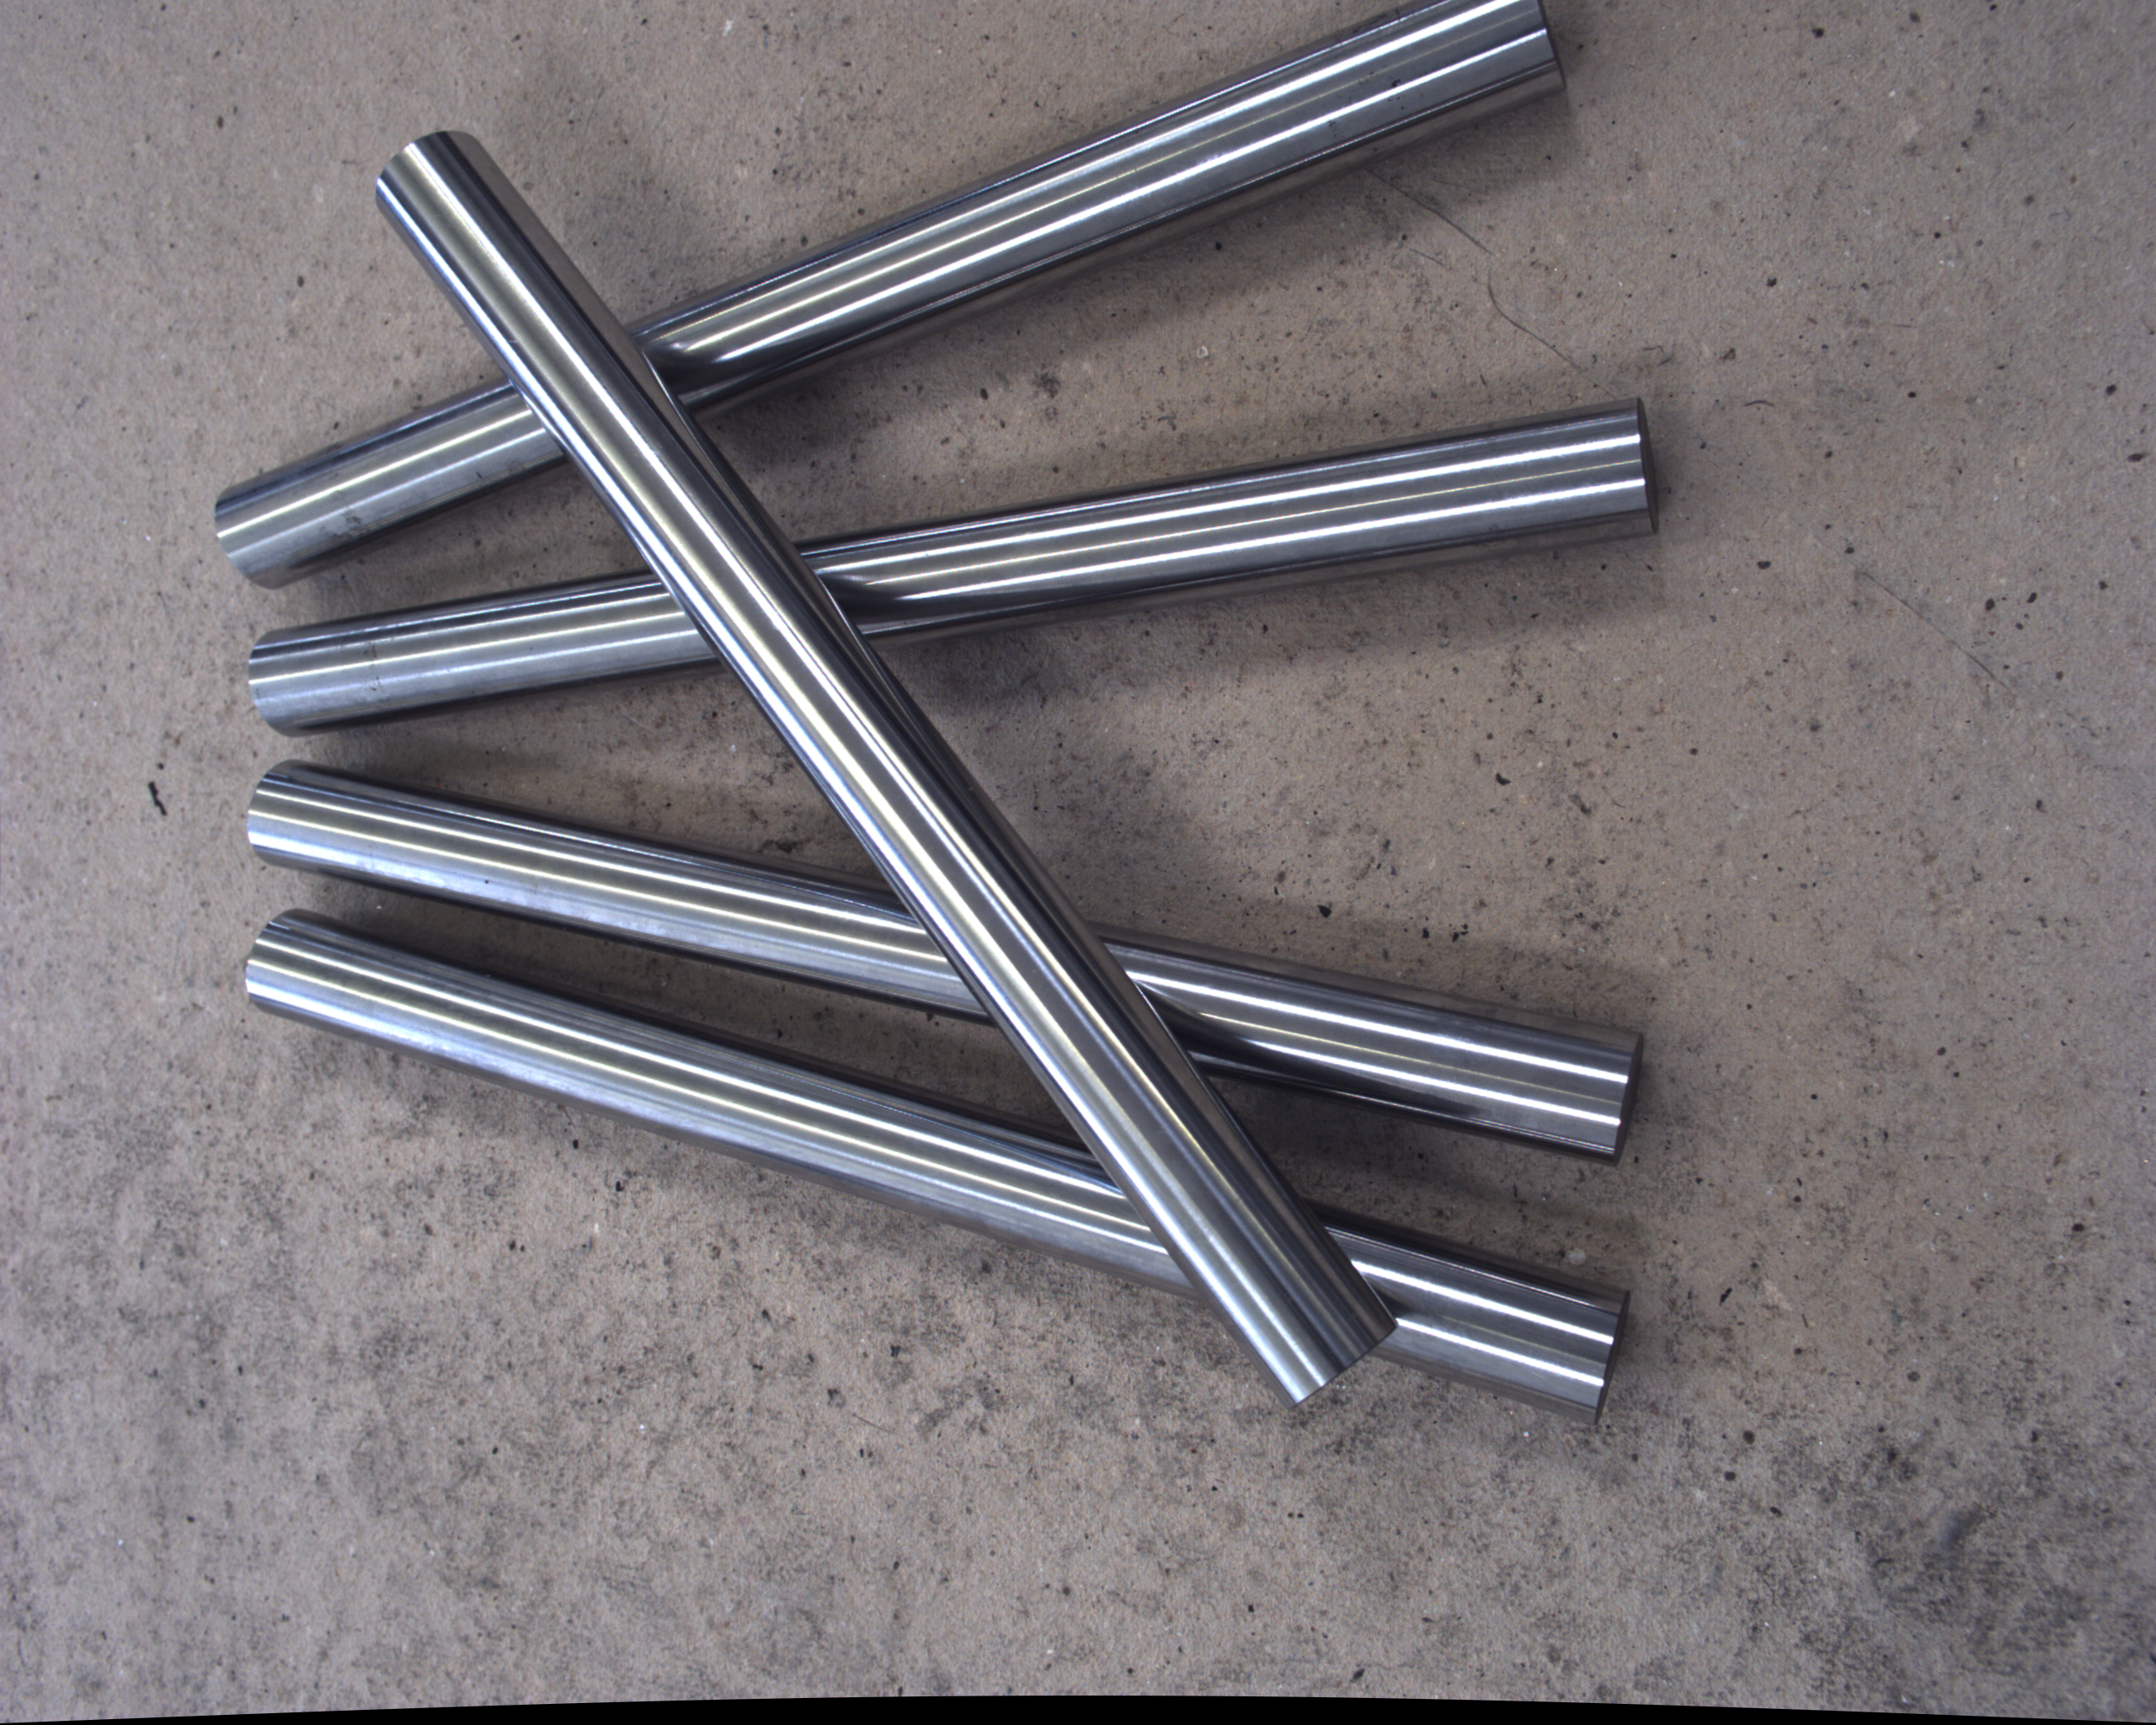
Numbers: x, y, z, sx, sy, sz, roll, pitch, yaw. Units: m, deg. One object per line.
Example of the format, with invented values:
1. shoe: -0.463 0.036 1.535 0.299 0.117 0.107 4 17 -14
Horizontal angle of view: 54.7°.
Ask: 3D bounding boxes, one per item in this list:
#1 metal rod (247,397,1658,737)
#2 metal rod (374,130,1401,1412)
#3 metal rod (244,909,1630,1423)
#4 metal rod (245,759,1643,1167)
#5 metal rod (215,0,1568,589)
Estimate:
1. metal rod: -0.038 -0.056 0.424 0.301 0.025 0.025 -6 88 19
2. metal rod: -0.044 -0.026 0.398 0.025 0.025 0.300 -42 77 15
3. metal rod: -0.042 0.056 0.425 0.301 0.025 0.025 14 95 19
4. metal rod: -0.040 0.016 0.424 0.301 0.025 0.025 11 94 19
5. metal rod: -0.051 -0.114 0.429 0.301 0.025 0.025 -16 85 19
